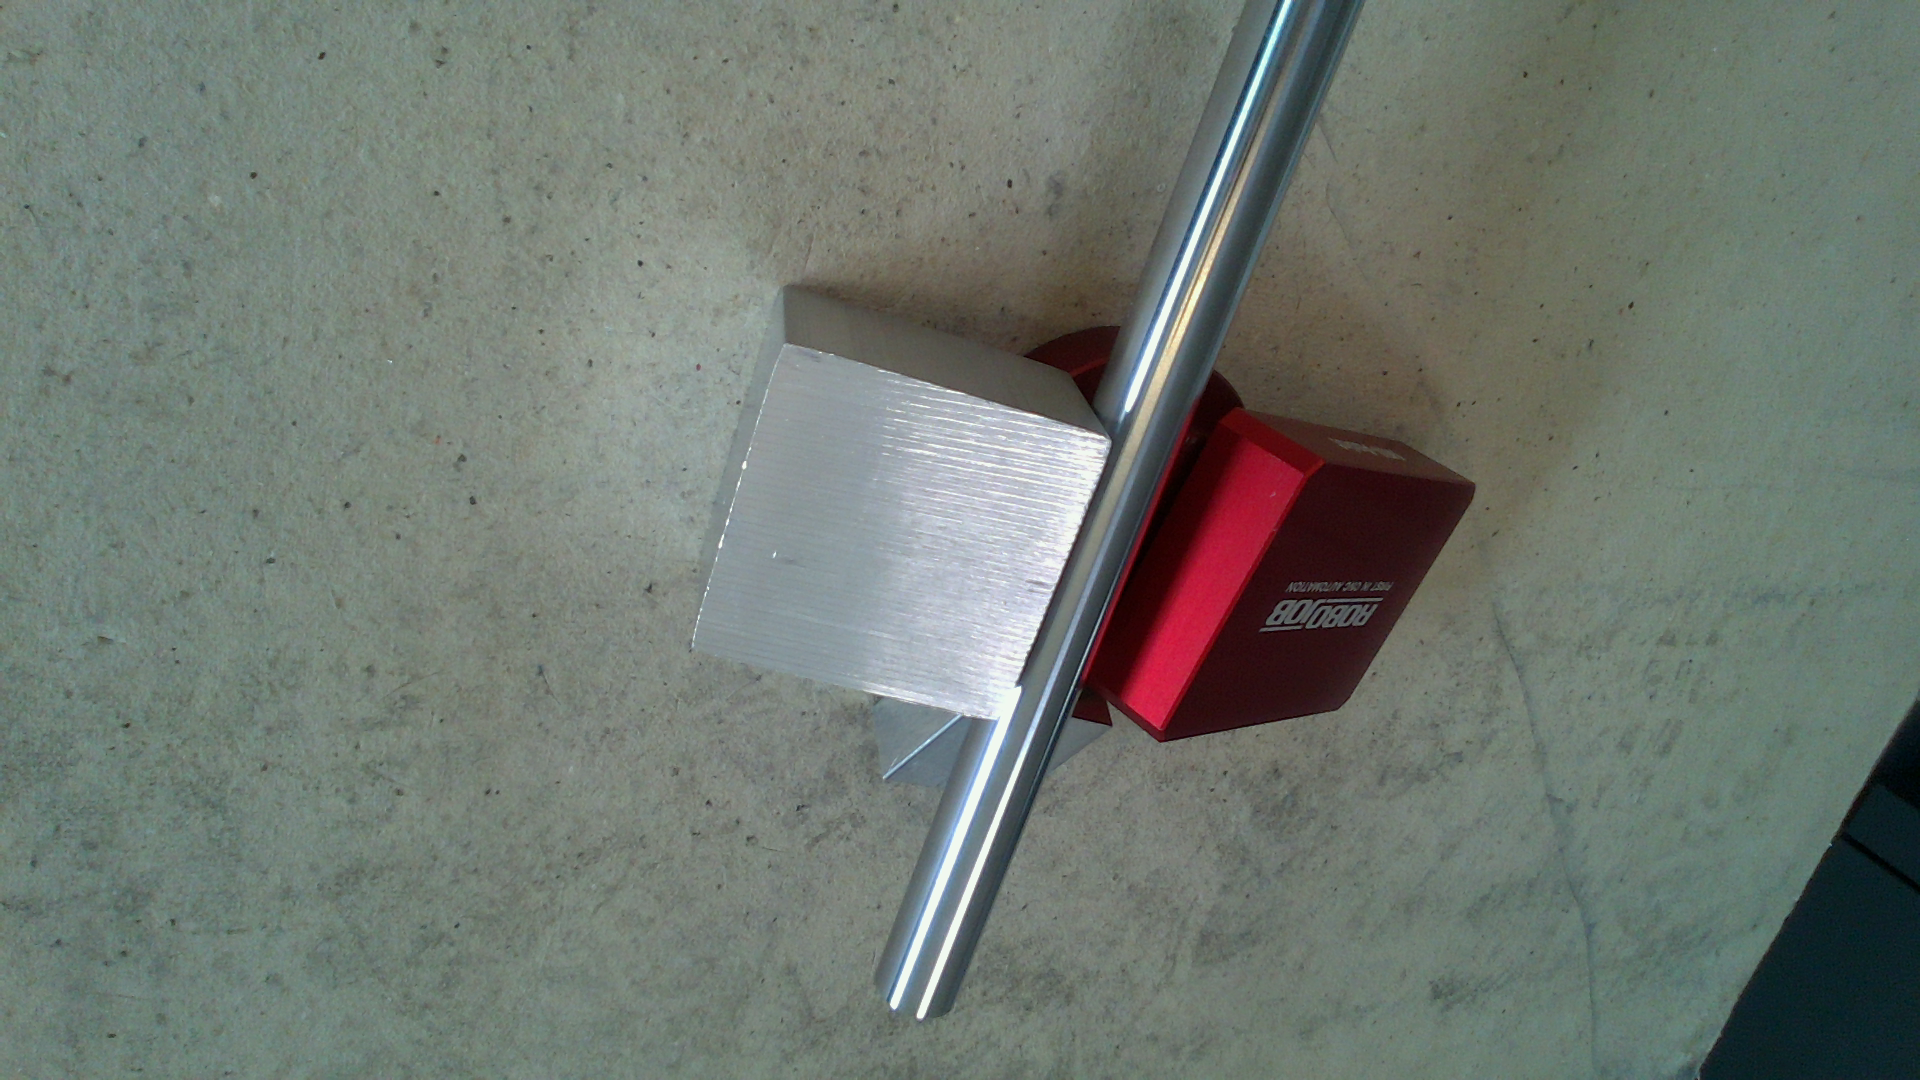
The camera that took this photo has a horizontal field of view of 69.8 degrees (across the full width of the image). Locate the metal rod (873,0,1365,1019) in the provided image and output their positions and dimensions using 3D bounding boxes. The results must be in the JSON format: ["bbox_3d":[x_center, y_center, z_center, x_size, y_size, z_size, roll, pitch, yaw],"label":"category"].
[{"bbox_3d":[0.035,-0.003,0.352,0.025,0.025,0.300,8,112,-32],"label":"metal rod"}]

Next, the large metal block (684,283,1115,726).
[{"bbox_3d":[-0.018,-0.009,0.344,0.080,0.050,0.080,15,112,-15],"label":"large metal block"}]

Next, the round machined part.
[{"bbox_3d":[0.045,-0.008,0.397,0.098,0.042,0.098,-14,124,-21],"label":"round machined part"}]

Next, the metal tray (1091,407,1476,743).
[{"bbox_3d":[0.102,0.011,0.419,0.131,0.030,0.090,2,120,-52],"label":"metal tray"}]

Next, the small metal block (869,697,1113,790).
[{"bbox_3d":[0.009,0.054,0.414,0.050,0.025,0.050,17,135,-34],"label":"small metal block"}]
